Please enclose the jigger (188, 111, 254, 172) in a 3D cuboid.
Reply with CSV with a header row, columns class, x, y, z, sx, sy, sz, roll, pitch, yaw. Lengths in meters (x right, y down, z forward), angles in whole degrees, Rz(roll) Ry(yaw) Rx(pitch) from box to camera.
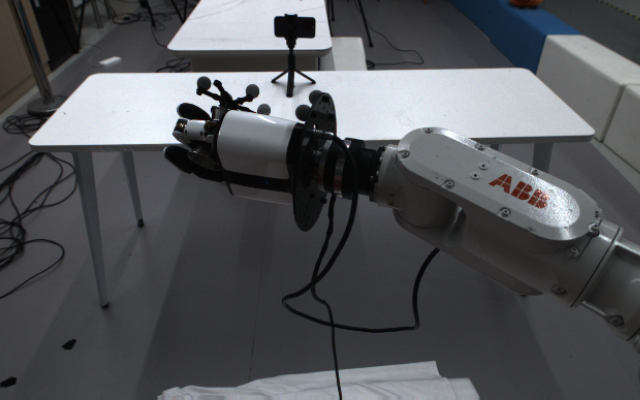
class,x,y,z,sx,sy,sz,roll,pitch,yaw
jigger,-0.125,-0.074,0.591,0.043,0.043,0.071,13,70,16
